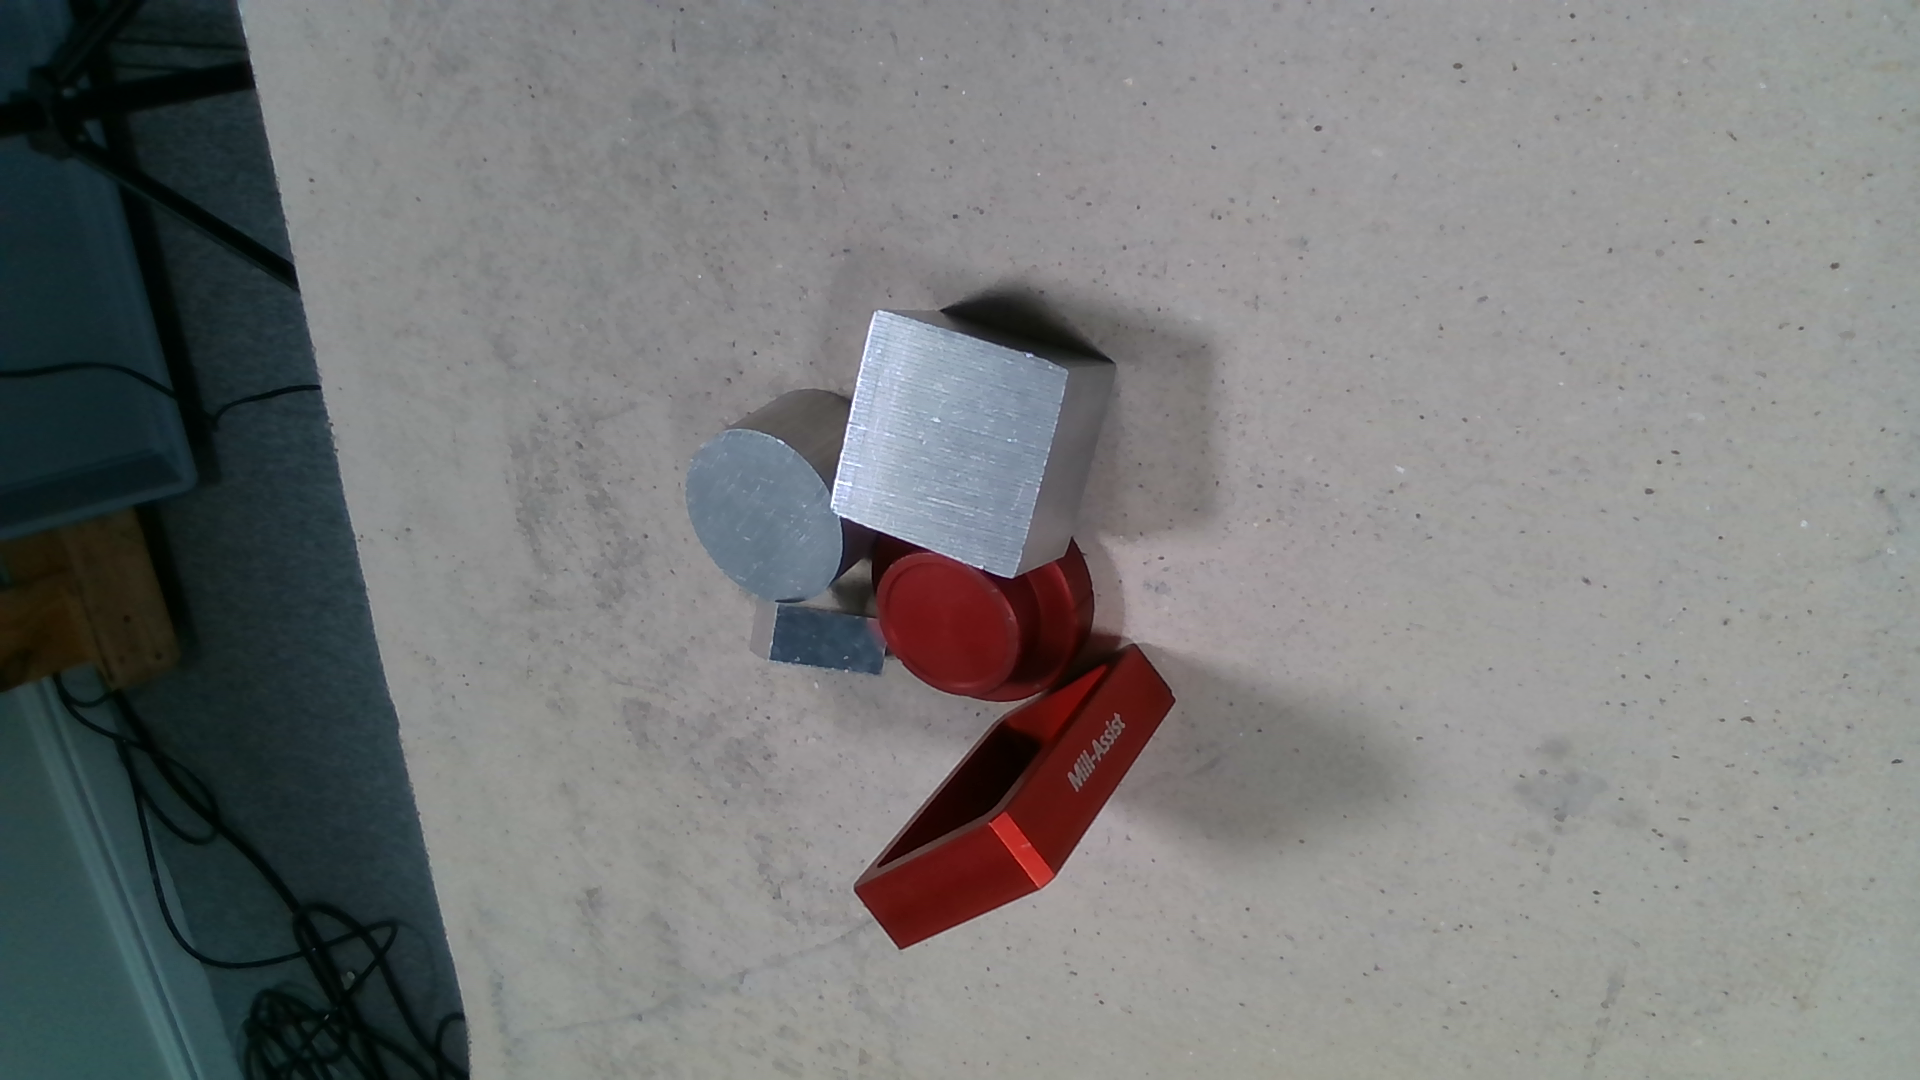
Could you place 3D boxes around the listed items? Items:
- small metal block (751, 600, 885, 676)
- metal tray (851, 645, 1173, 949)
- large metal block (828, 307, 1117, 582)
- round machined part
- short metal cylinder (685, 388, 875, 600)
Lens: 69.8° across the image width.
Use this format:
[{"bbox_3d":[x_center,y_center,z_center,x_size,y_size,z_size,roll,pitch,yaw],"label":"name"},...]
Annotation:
[{"bbox_3d":[-0.063,0.042,0.612,0.050,0.050,0.025,-175,95,-72],"label":"small metal block"},{"bbox_3d":[0.023,0.100,0.551,0.090,0.130,0.030,-36,94,39],"label":"metal tray"},{"bbox_3d":[0.004,-0.039,0.524,0.080,0.050,0.080,21,107,21],"label":"large metal block"},{"bbox_3d":[0.004,0.026,0.582,0.098,0.042,0.098,14,122,25],"label":"round machined part"},{"bbox_3d":[-0.072,-0.020,0.597,0.080,0.050,0.080,14,122,25],"label":"short metal cylinder"}]
